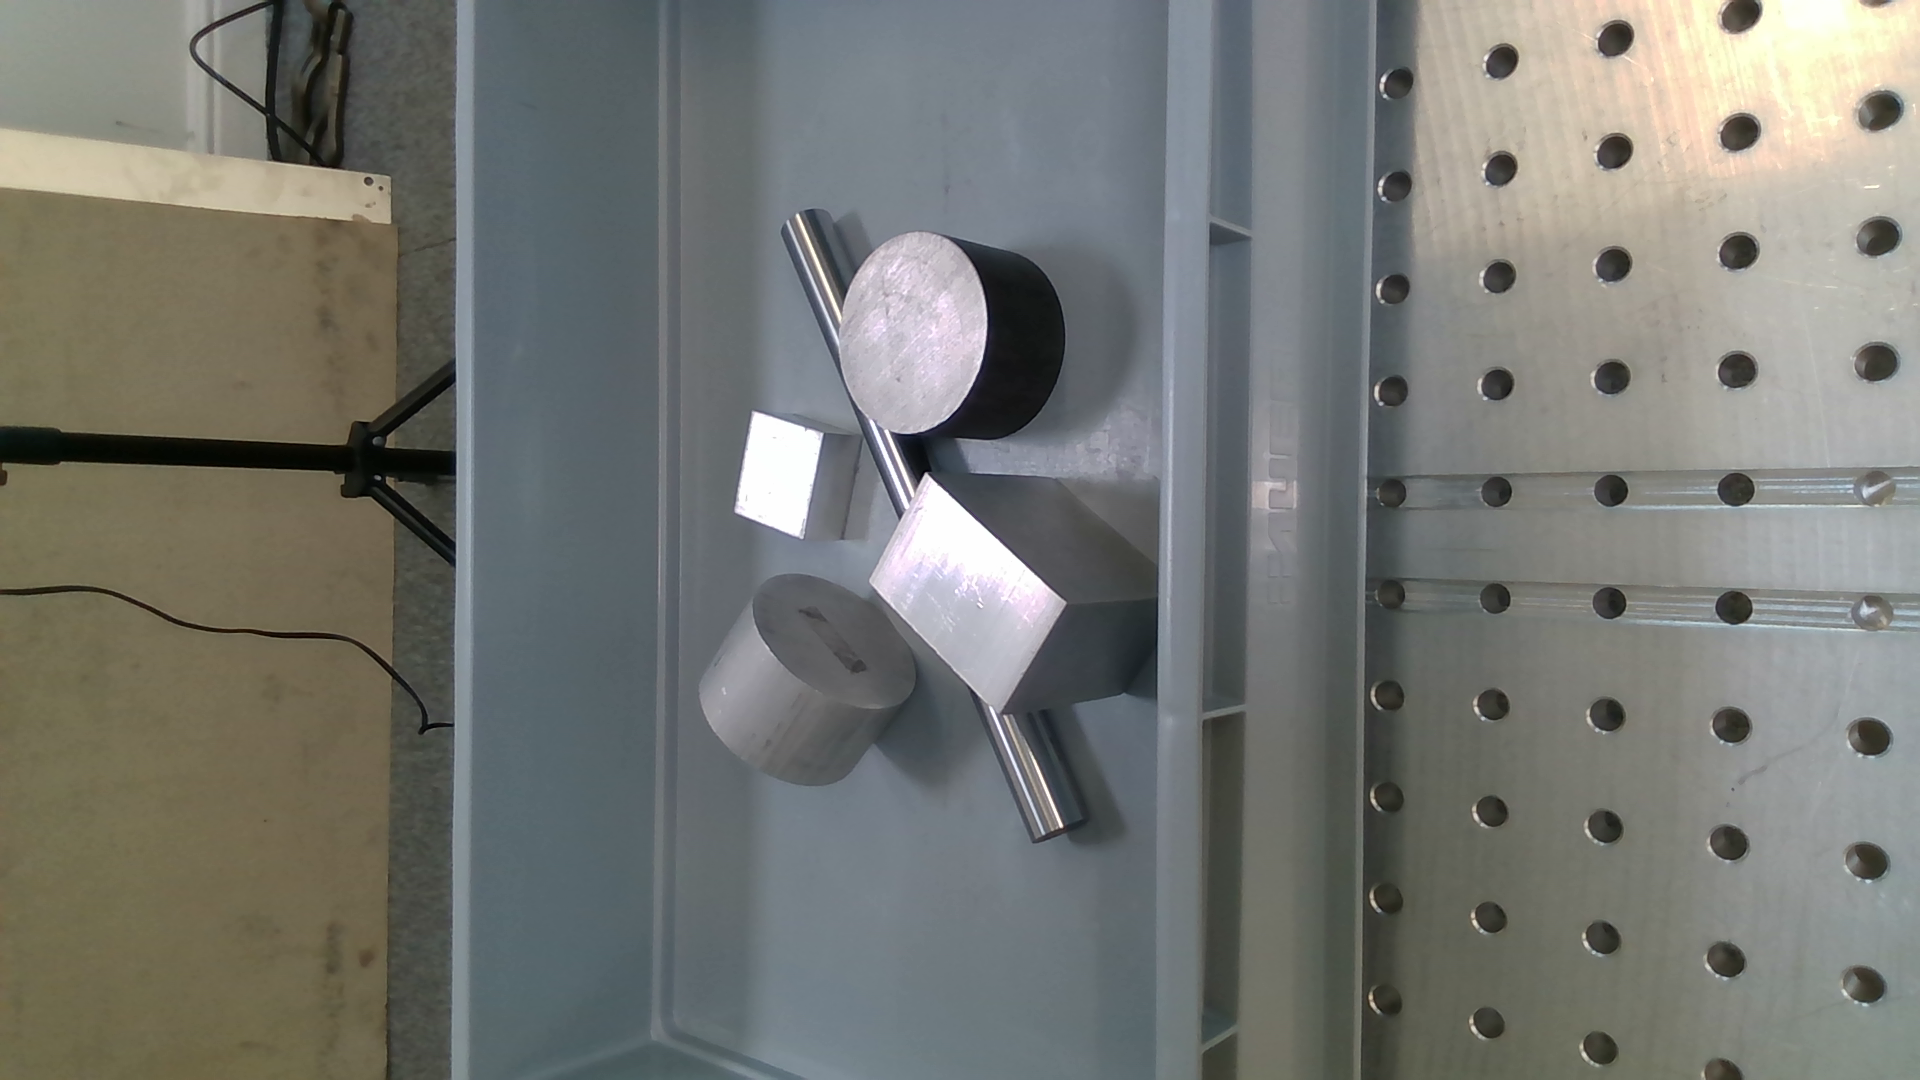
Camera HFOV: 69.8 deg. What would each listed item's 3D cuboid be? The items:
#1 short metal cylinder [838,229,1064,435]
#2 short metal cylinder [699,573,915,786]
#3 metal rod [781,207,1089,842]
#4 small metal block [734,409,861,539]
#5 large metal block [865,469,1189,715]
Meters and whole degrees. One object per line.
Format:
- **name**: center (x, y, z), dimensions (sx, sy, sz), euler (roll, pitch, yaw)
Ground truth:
- **short metal cylinder**: center (-0.004, -0.083, 0.567), dimensions (0.080, 0.050, 0.080), euler (0, 91, 40)
- **short metal cylinder**: center (-0.067, 0.060, 0.602), dimensions (0.080, 0.080, 0.050), euler (51, 121, 28)
- **metal rod**: center (-0.016, -0.016, 0.594), dimensions (0.025, 0.025, 0.299), euler (-36, 68, 35)
- **small metal block**: center (-0.076, -0.031, 0.645), dimensions (0.050, 0.025, 0.050), euler (20, 103, 38)
- **large metal block**: center (0.026, 0.018, 0.524), dimensions (0.080, 0.080, 0.050), euler (44, 117, 31)
